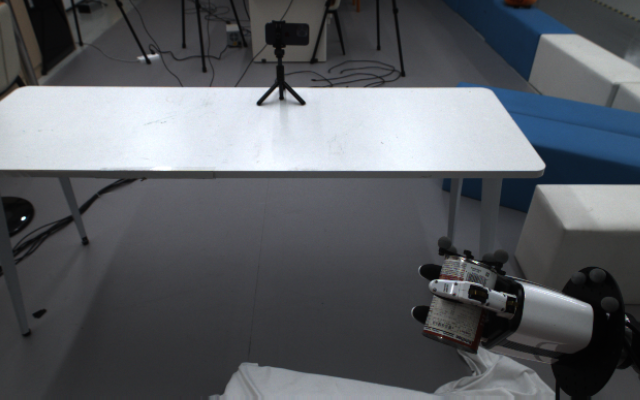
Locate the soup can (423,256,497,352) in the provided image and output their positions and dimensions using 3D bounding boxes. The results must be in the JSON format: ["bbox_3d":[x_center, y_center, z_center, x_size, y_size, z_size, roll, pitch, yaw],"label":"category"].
[{"bbox_3d":[0.173,0.125,0.595,0.067,0.067,0.101,16,75,19],"label":"soup can"}]
